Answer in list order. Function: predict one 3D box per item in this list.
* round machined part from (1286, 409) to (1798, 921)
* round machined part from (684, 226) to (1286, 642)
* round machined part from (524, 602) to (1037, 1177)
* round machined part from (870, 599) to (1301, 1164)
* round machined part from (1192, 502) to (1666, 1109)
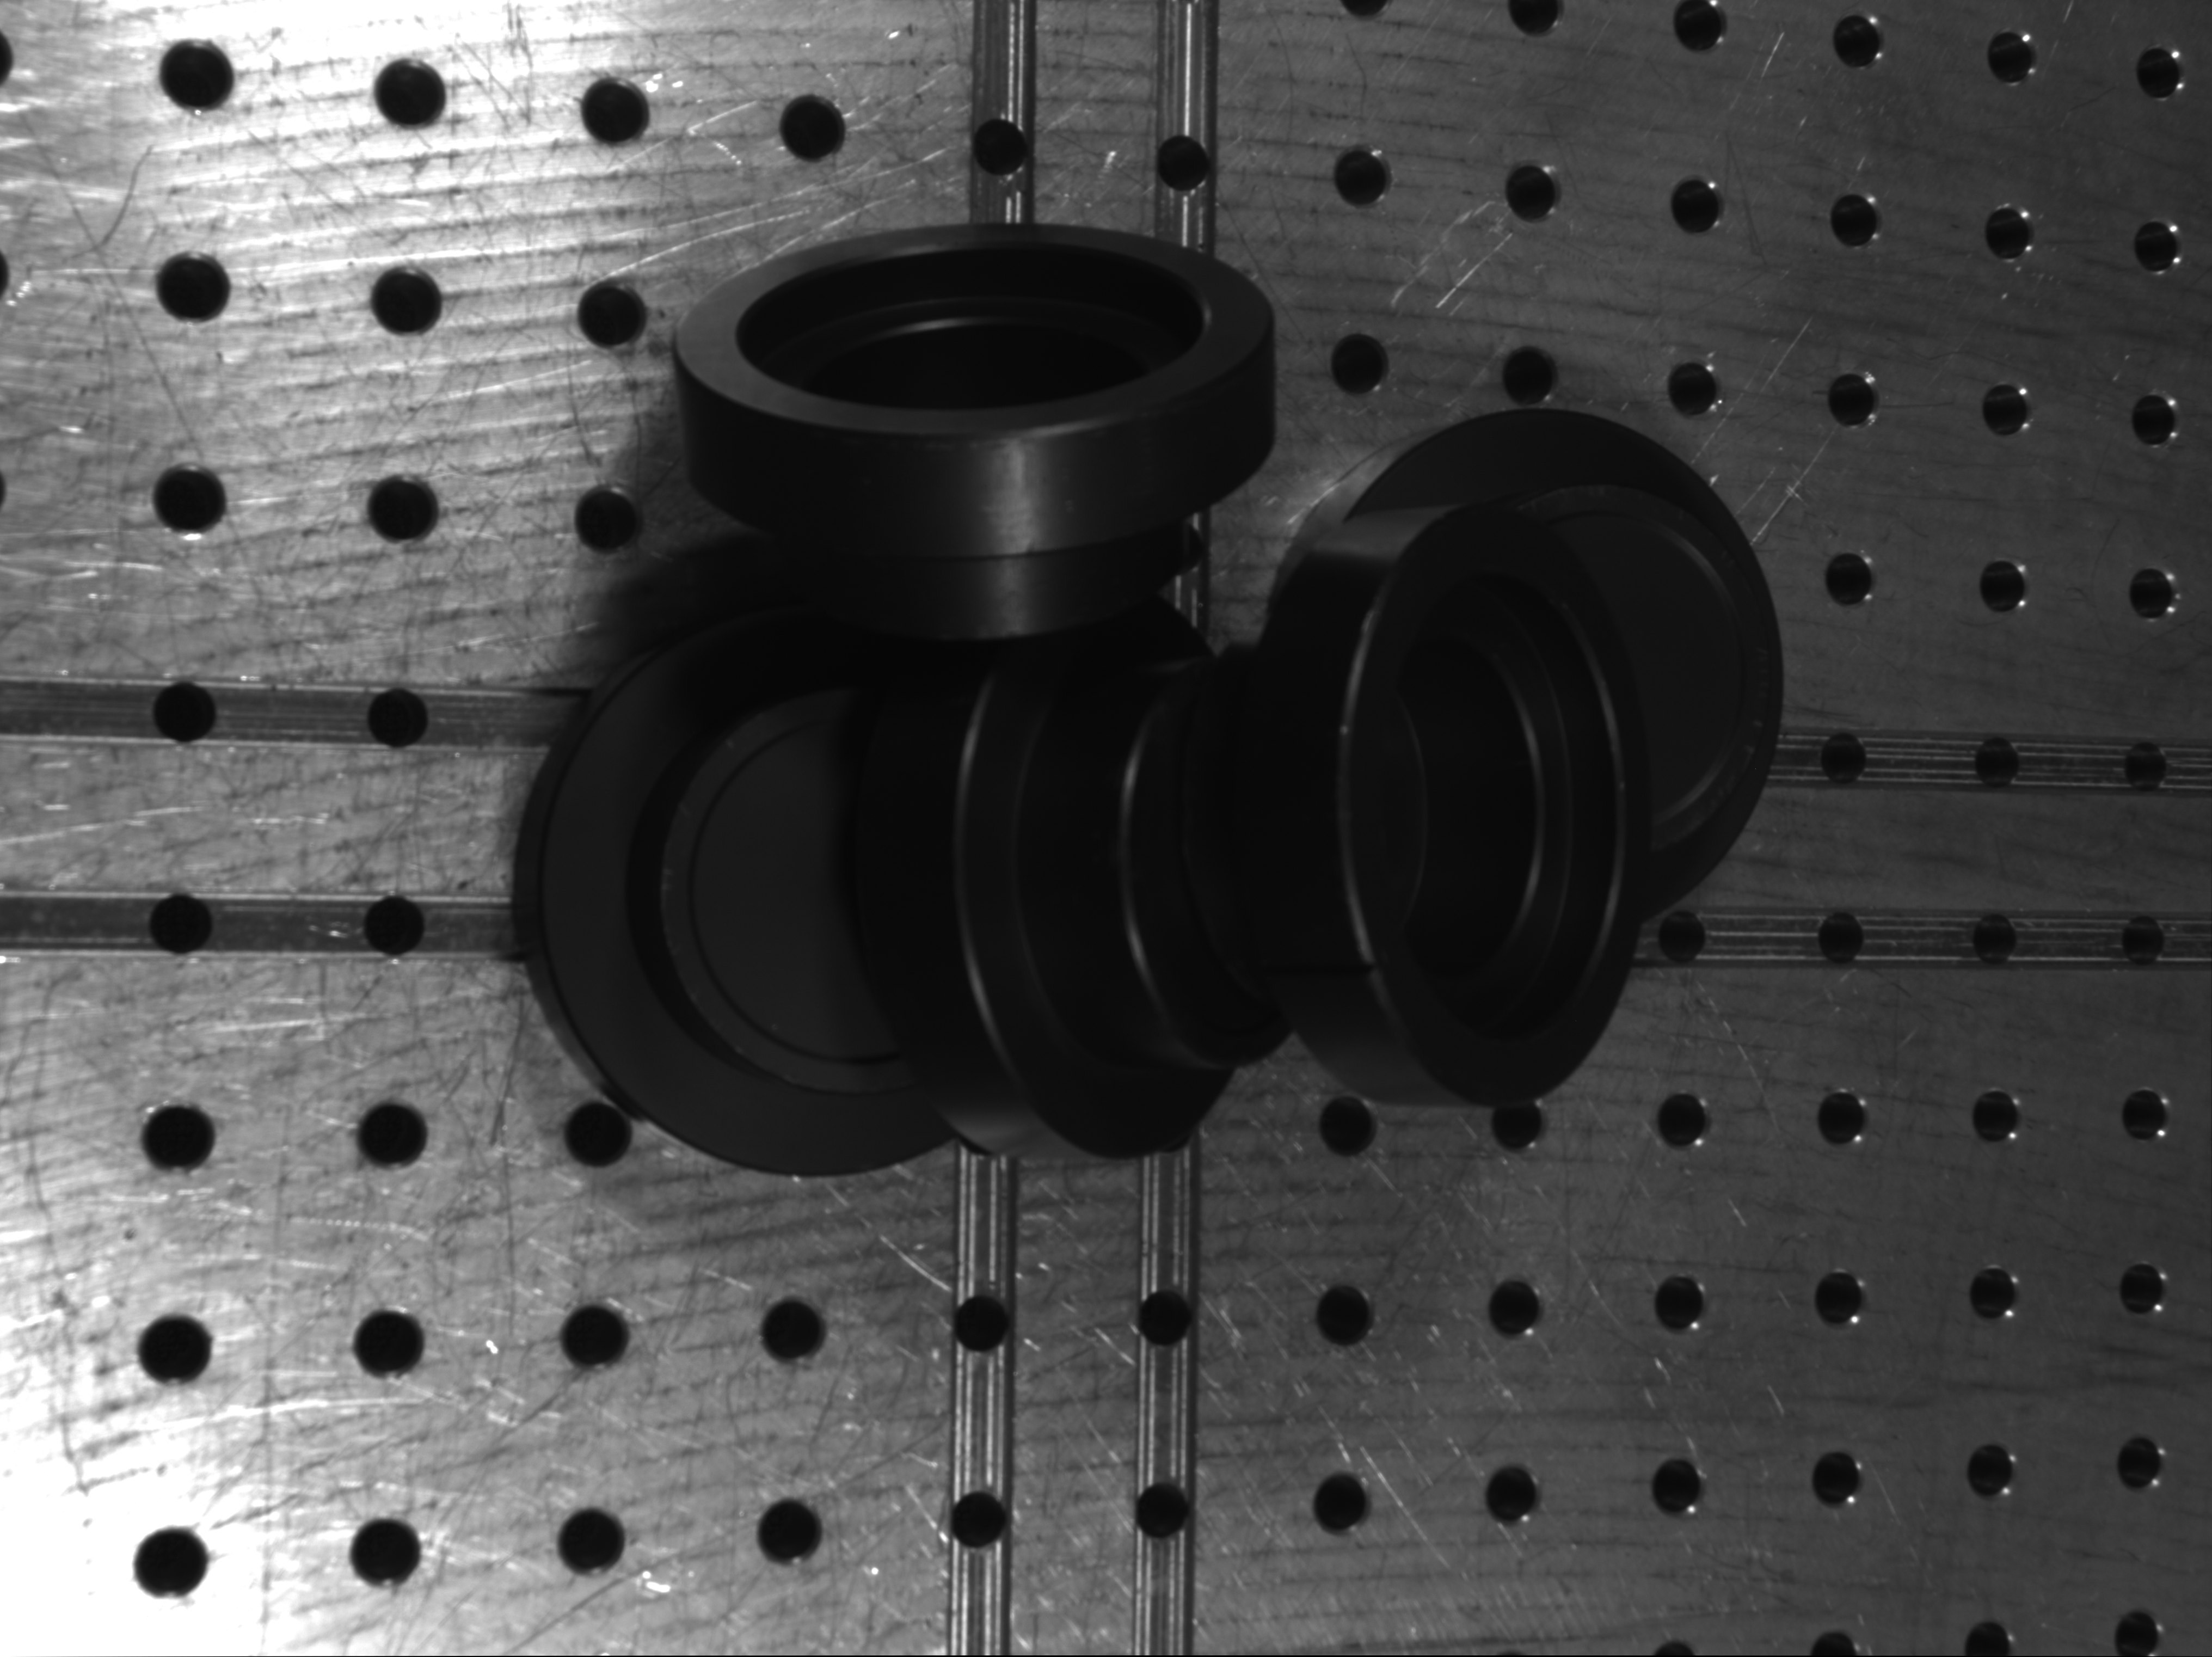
[{"bbox_3d":[0.084,-0.028,0.667,0.098,0.042,0.098,0,90,-20],"label":"round machined part"},{"bbox_3d":[-0.019,-0.064,0.606,0.098,0.098,0.042,-13,120,-19],"label":"round machined part"},{"bbox_3d":[-0.046,0.010,0.620,0.098,0.042,0.098,0,90,-20],"label":"round machined part"},{"bbox_3d":[0.006,0.007,0.614,0.098,0.042,0.098,9,80,-56],"label":"round machined part"},{"bbox_3d":[0.051,-0.003,0.604,0.098,0.042,0.098,3,87,-53],"label":"round machined part"}]
